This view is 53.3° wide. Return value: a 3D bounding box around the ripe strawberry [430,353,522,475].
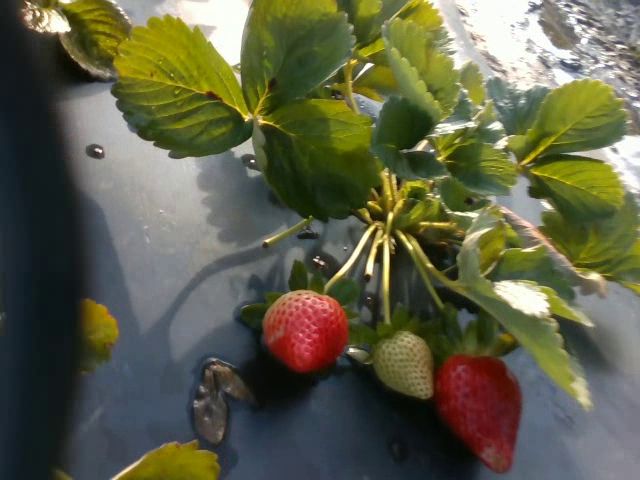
[{"bbox_3d":[0.078,0.084,0.317,0.048,0.065,0.050,-10,-35,15],"label":"ripe strawberry"}]
